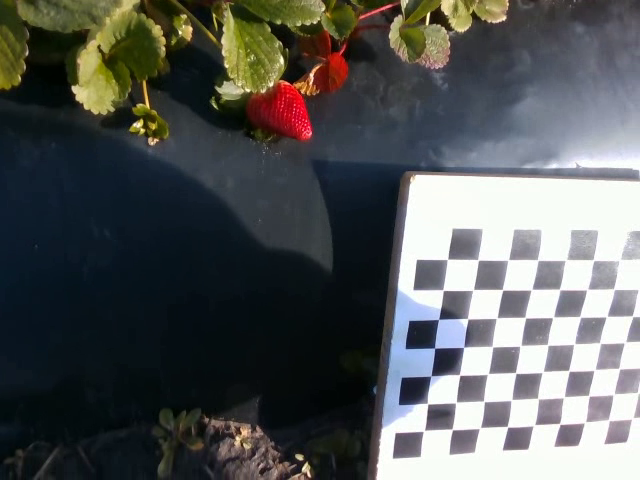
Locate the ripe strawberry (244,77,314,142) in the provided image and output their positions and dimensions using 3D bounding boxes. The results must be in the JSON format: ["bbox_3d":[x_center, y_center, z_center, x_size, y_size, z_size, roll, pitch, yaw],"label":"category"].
[{"bbox_3d":[-0.025,-0.082,0.452,0.056,0.041,0.040,46,7,23],"label":"ripe strawberry"}]
